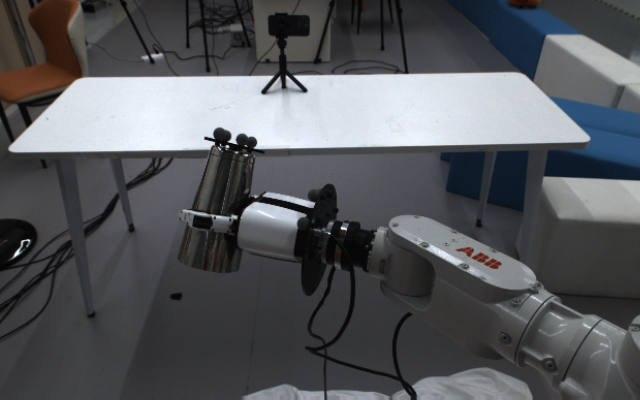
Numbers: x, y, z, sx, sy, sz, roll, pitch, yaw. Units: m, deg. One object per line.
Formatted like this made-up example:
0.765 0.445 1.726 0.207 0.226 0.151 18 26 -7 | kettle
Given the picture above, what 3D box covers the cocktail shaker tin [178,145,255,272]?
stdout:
-0.145 0.011 0.709 0.093 0.170 0.093 13 5 -1 | cocktail shaker tin
